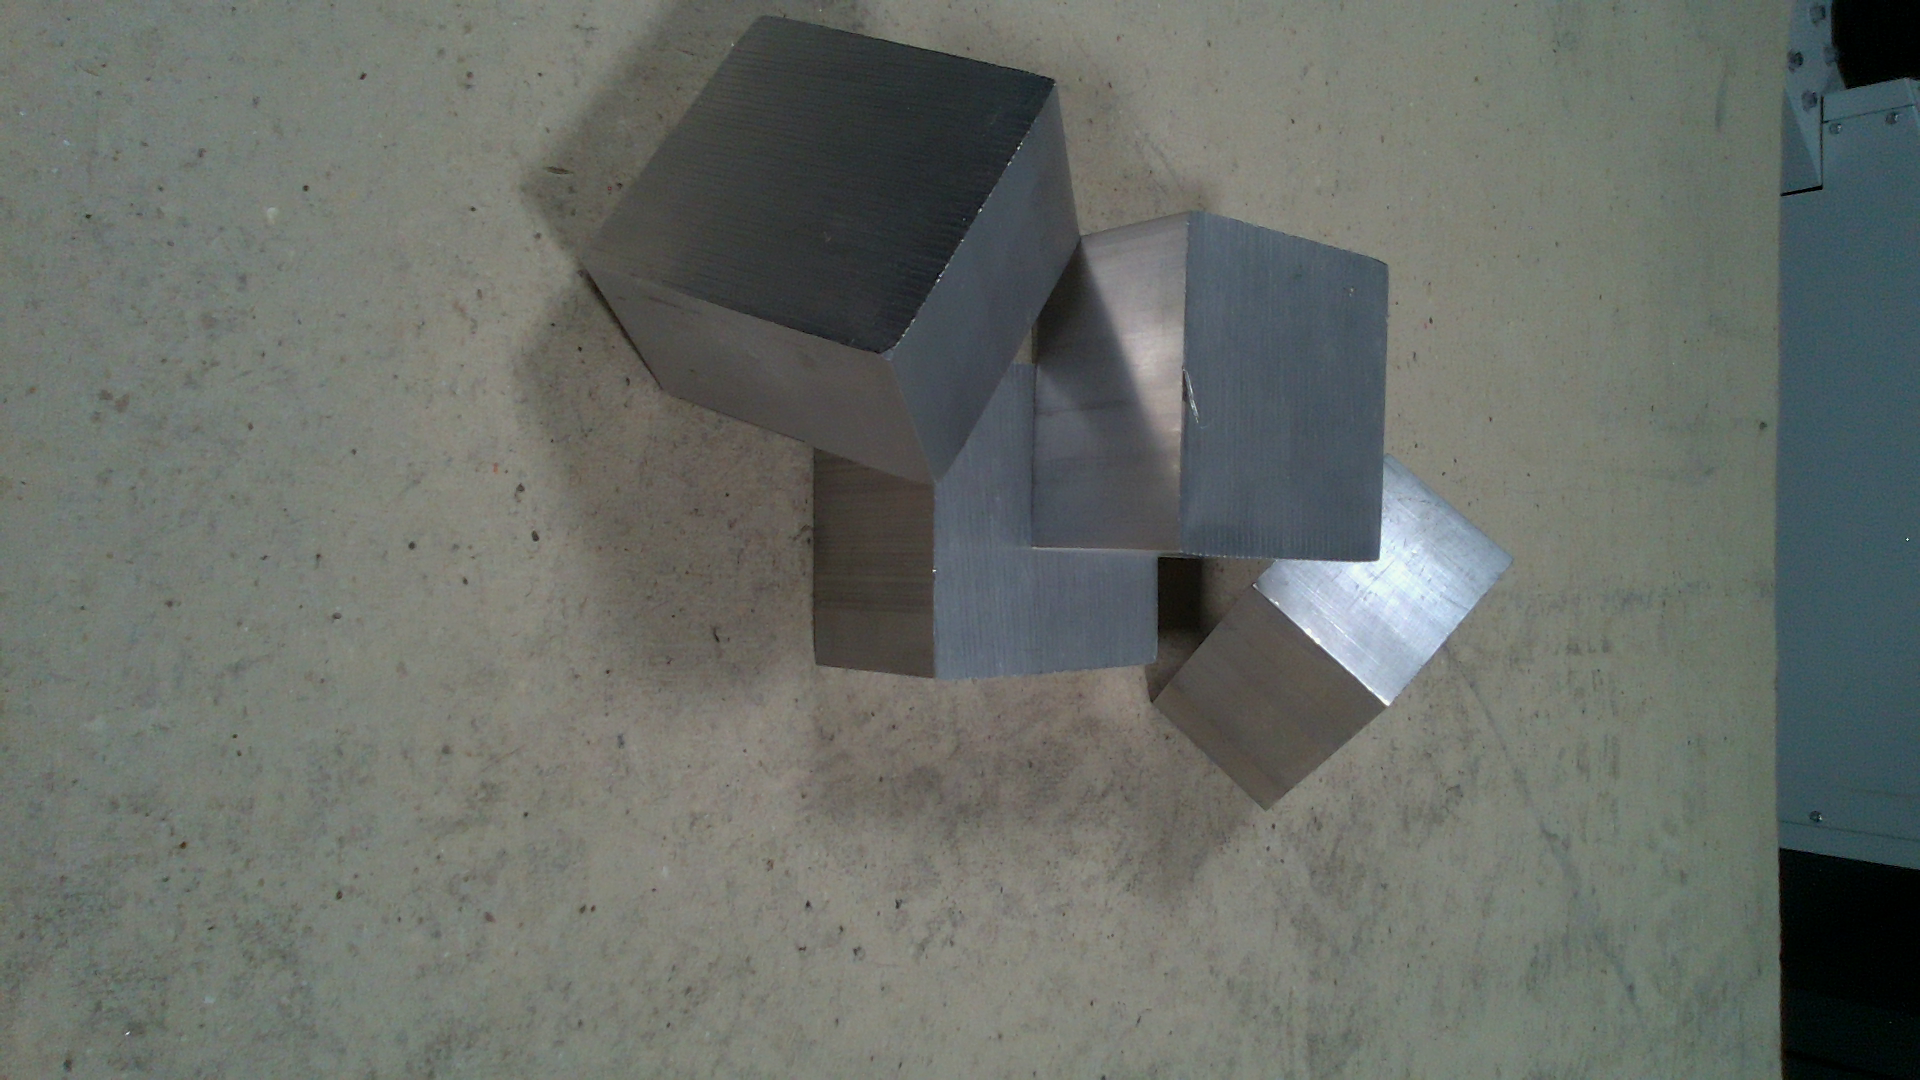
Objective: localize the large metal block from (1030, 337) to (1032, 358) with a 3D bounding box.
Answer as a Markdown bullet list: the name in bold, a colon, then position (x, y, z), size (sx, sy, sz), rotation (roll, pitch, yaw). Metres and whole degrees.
- **large metal block**: position (0.068, -0.047, 0.430), size (0.080, 0.050, 0.080), rotation (0, 90, -40)

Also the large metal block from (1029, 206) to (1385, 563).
- **large metal block**: position (0.066, -0.035, 0.360), size (0.080, 0.050, 0.080), rotation (3, 88, -40)

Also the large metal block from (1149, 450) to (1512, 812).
- **large metal block**: position (0.117, 0.030, 0.442), size (0.050, 0.080, 0.080), rotation (44, 56, 12)

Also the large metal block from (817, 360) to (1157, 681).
- **large metal block**: position (0.008, -0.006, 0.377), size (0.080, 0.050, 0.080), rotation (0, 90, -40)

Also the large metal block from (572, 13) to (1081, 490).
- **large metal block**: position (-0.027, -0.069, 0.322), size (0.080, 0.080, 0.050), rotation (-61, 157, -22)
